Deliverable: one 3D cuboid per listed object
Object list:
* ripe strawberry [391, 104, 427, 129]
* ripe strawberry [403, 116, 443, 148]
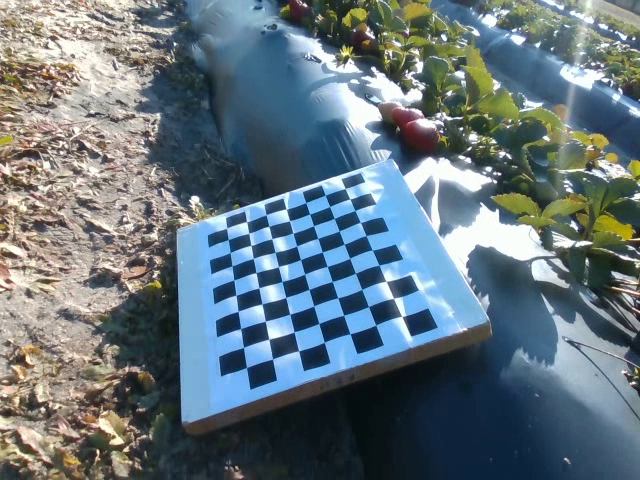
[{"bbox_3d":[0.129,-0.177,0.912,0.061,0.051,0.044,30,-46,-14],"label":"ripe strawberry"},{"bbox_3d":[0.140,-0.150,0.866,0.056,0.052,0.067,9,-9,29],"label":"ripe strawberry"}]
